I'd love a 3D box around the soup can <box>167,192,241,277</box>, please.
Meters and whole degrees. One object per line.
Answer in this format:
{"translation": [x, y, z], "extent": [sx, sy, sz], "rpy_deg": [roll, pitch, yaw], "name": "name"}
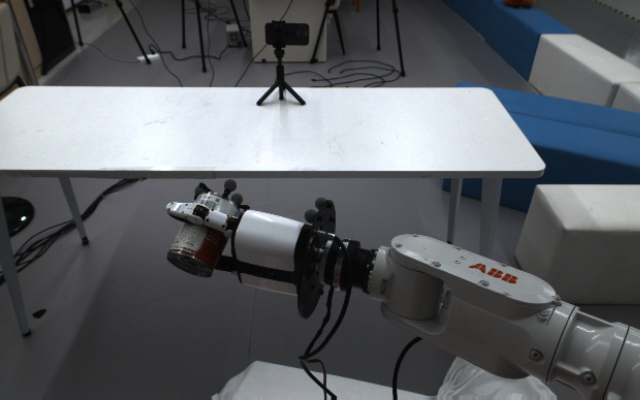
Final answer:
{"translation": [-0.161, 0.048, 0.675], "extent": [0.067, 0.067, 0.101], "rpy_deg": [12, 59, 14], "name": "soup can"}
